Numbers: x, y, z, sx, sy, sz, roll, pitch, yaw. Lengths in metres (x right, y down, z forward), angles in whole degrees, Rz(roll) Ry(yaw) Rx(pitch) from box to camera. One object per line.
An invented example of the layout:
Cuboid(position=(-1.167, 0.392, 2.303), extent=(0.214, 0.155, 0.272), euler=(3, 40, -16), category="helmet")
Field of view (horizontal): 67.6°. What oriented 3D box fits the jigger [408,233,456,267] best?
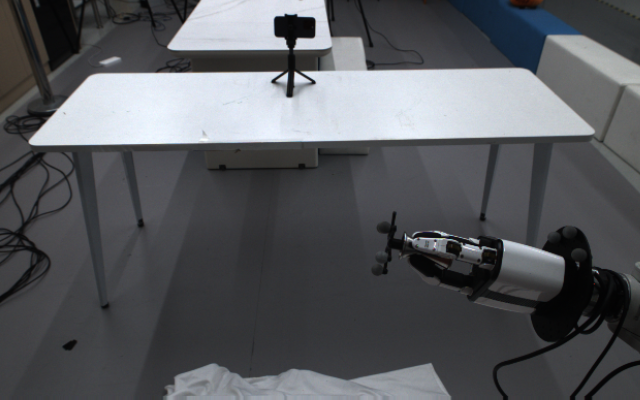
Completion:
Cuboid(position=(0.153, 0.065, 0.669), extent=(0.071, 0.043, 0.043), euler=(11, 35, 3), category="jigger")
